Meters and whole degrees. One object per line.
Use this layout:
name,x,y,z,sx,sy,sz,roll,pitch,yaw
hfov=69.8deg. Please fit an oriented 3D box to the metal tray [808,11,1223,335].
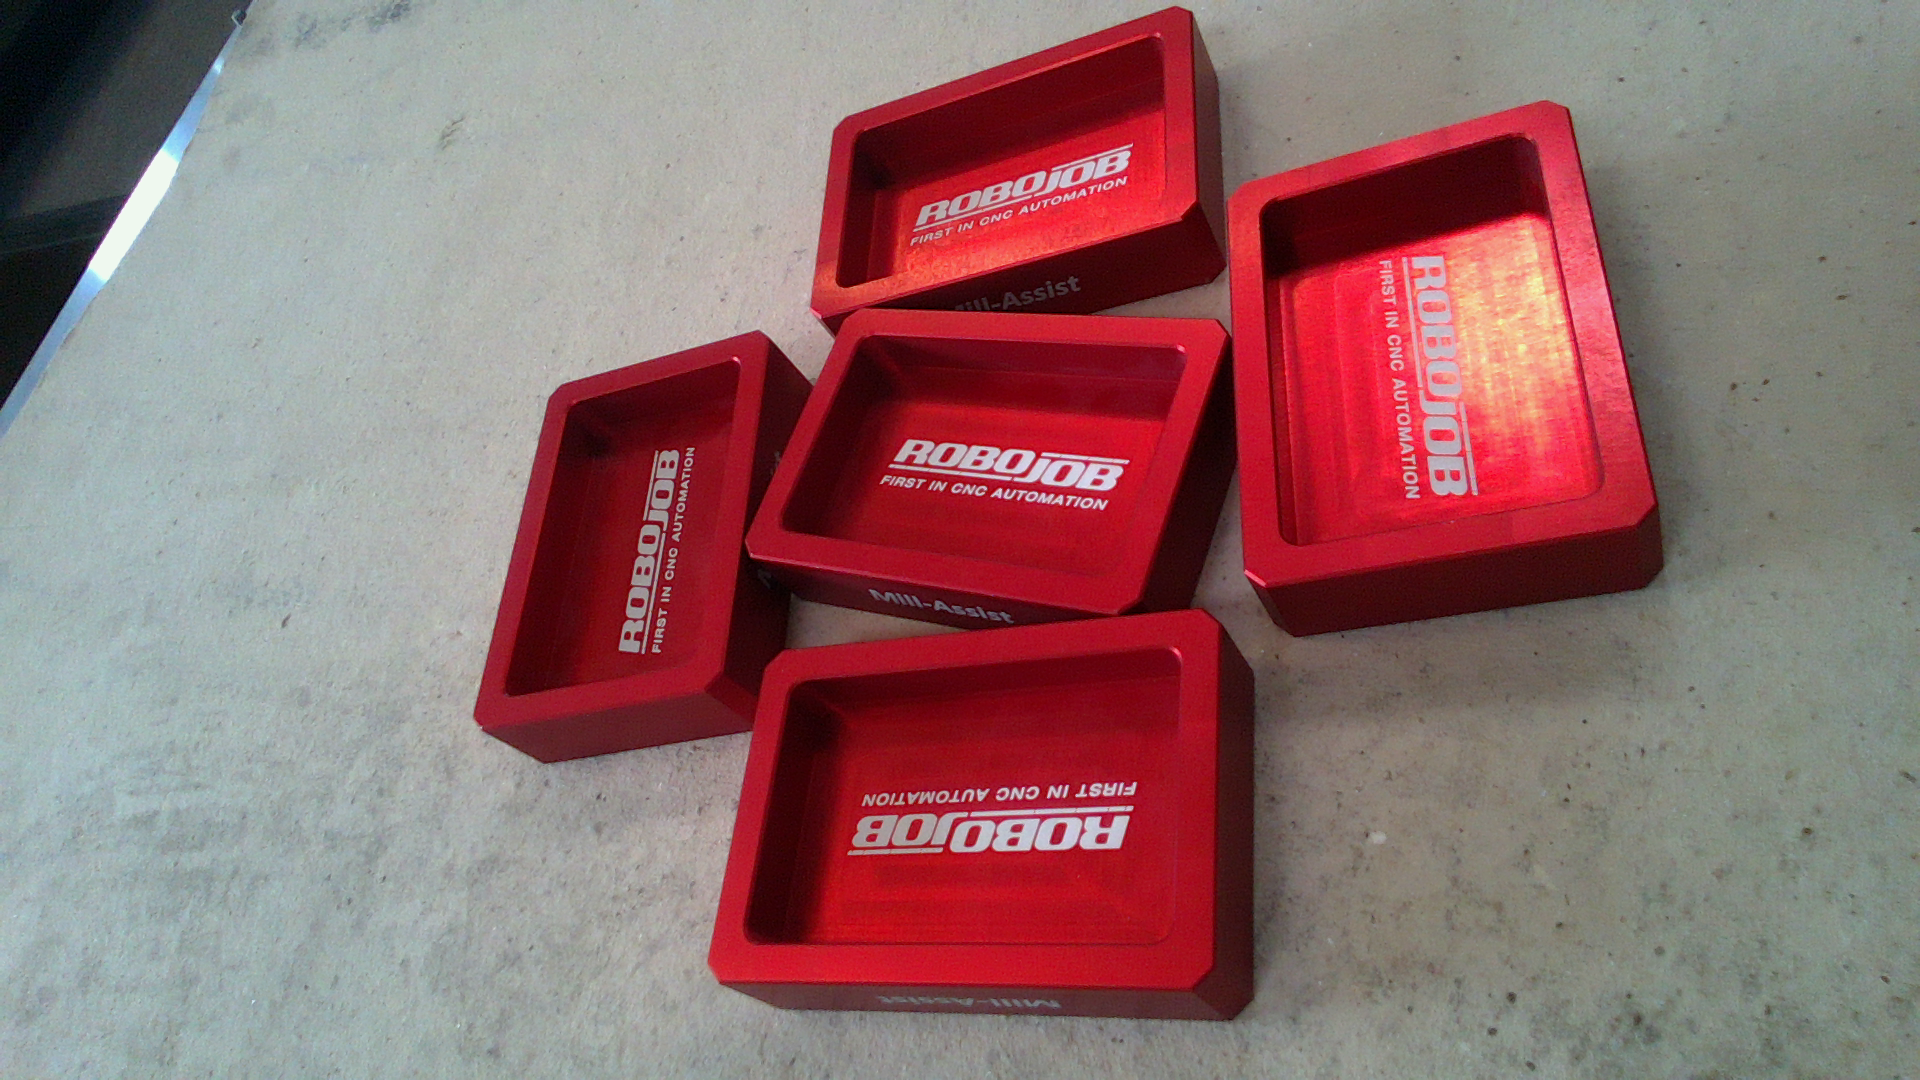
metal tray,0.018,-0.113,0.452,0.130,0.030,0.090,-11,57,23

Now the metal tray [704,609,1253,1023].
metal tray,0.005,0.070,0.344,0.130,0.030,0.090,-8,58,25

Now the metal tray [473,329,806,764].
metal tray,-0.100,0.001,0.444,0.090,0.030,0.130,-11,57,23

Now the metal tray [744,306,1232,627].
metal tray,0.009,-0.021,0.398,0.129,0.030,0.090,8,67,32

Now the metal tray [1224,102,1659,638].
metal tray,0.118,-0.045,0.355,0.090,0.030,0.130,-11,57,24
